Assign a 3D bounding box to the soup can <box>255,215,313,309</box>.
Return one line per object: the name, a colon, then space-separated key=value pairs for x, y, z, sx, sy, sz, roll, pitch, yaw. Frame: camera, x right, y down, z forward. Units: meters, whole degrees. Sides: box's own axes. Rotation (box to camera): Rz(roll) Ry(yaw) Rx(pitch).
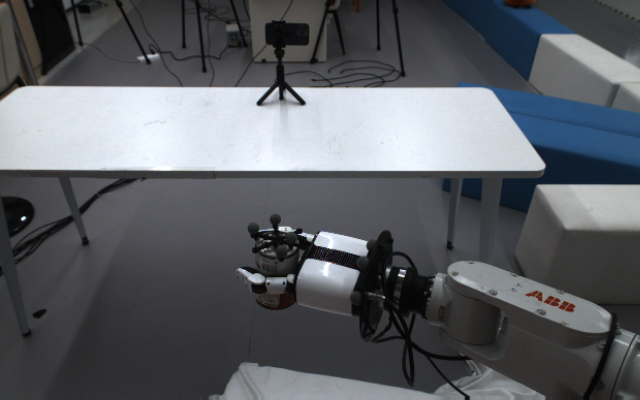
soup can: x=-0.064 y=0.108 z=0.734 sx=0.067 sy=0.101 sz=0.067 roll=3 pitch=30 yaw=-2
